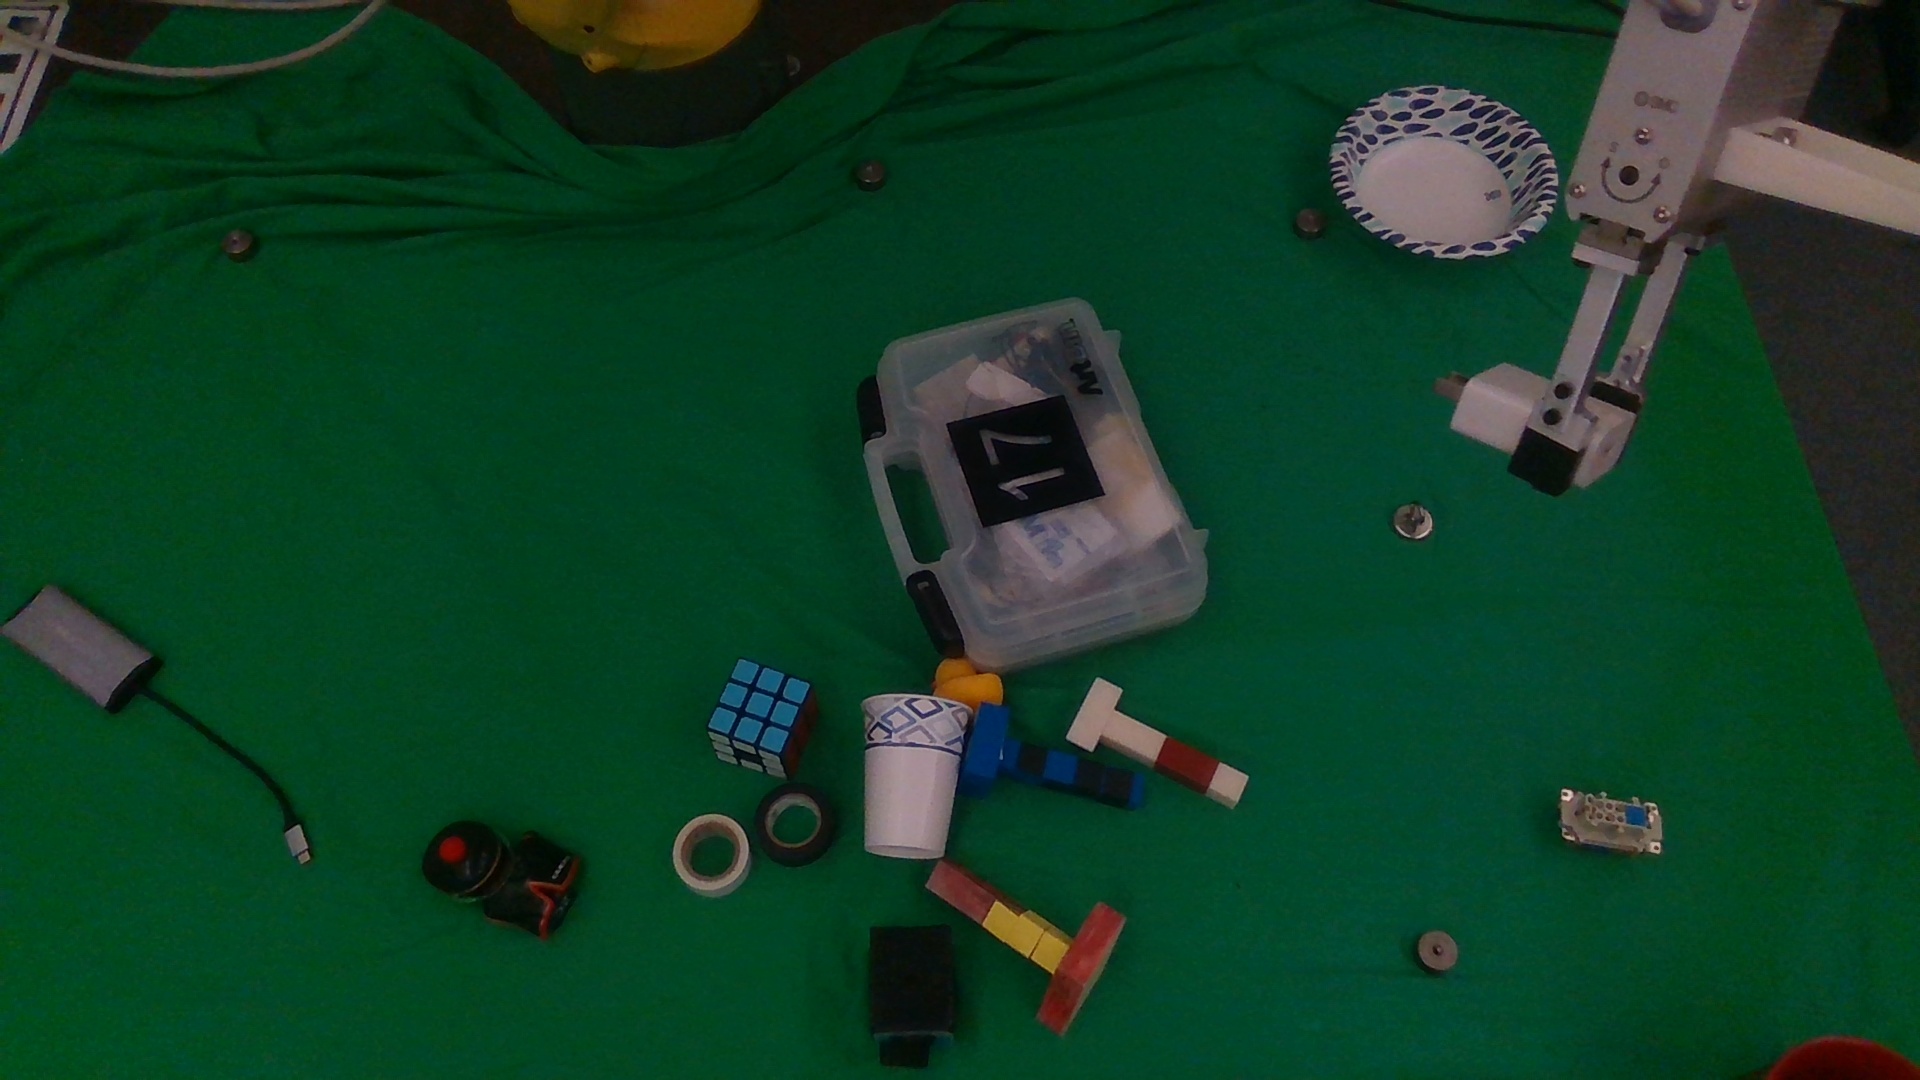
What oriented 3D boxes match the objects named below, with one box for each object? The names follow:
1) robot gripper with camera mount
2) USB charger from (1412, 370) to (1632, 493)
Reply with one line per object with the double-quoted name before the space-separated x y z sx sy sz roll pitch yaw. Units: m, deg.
"robot gripper with camera mount" 0.303 -0.071 0.446 0.194 0.158 0.118 26 31 32
"USB charger" 0.209 -0.044 0.524 0.076 0.029 0.044 27 33 32
